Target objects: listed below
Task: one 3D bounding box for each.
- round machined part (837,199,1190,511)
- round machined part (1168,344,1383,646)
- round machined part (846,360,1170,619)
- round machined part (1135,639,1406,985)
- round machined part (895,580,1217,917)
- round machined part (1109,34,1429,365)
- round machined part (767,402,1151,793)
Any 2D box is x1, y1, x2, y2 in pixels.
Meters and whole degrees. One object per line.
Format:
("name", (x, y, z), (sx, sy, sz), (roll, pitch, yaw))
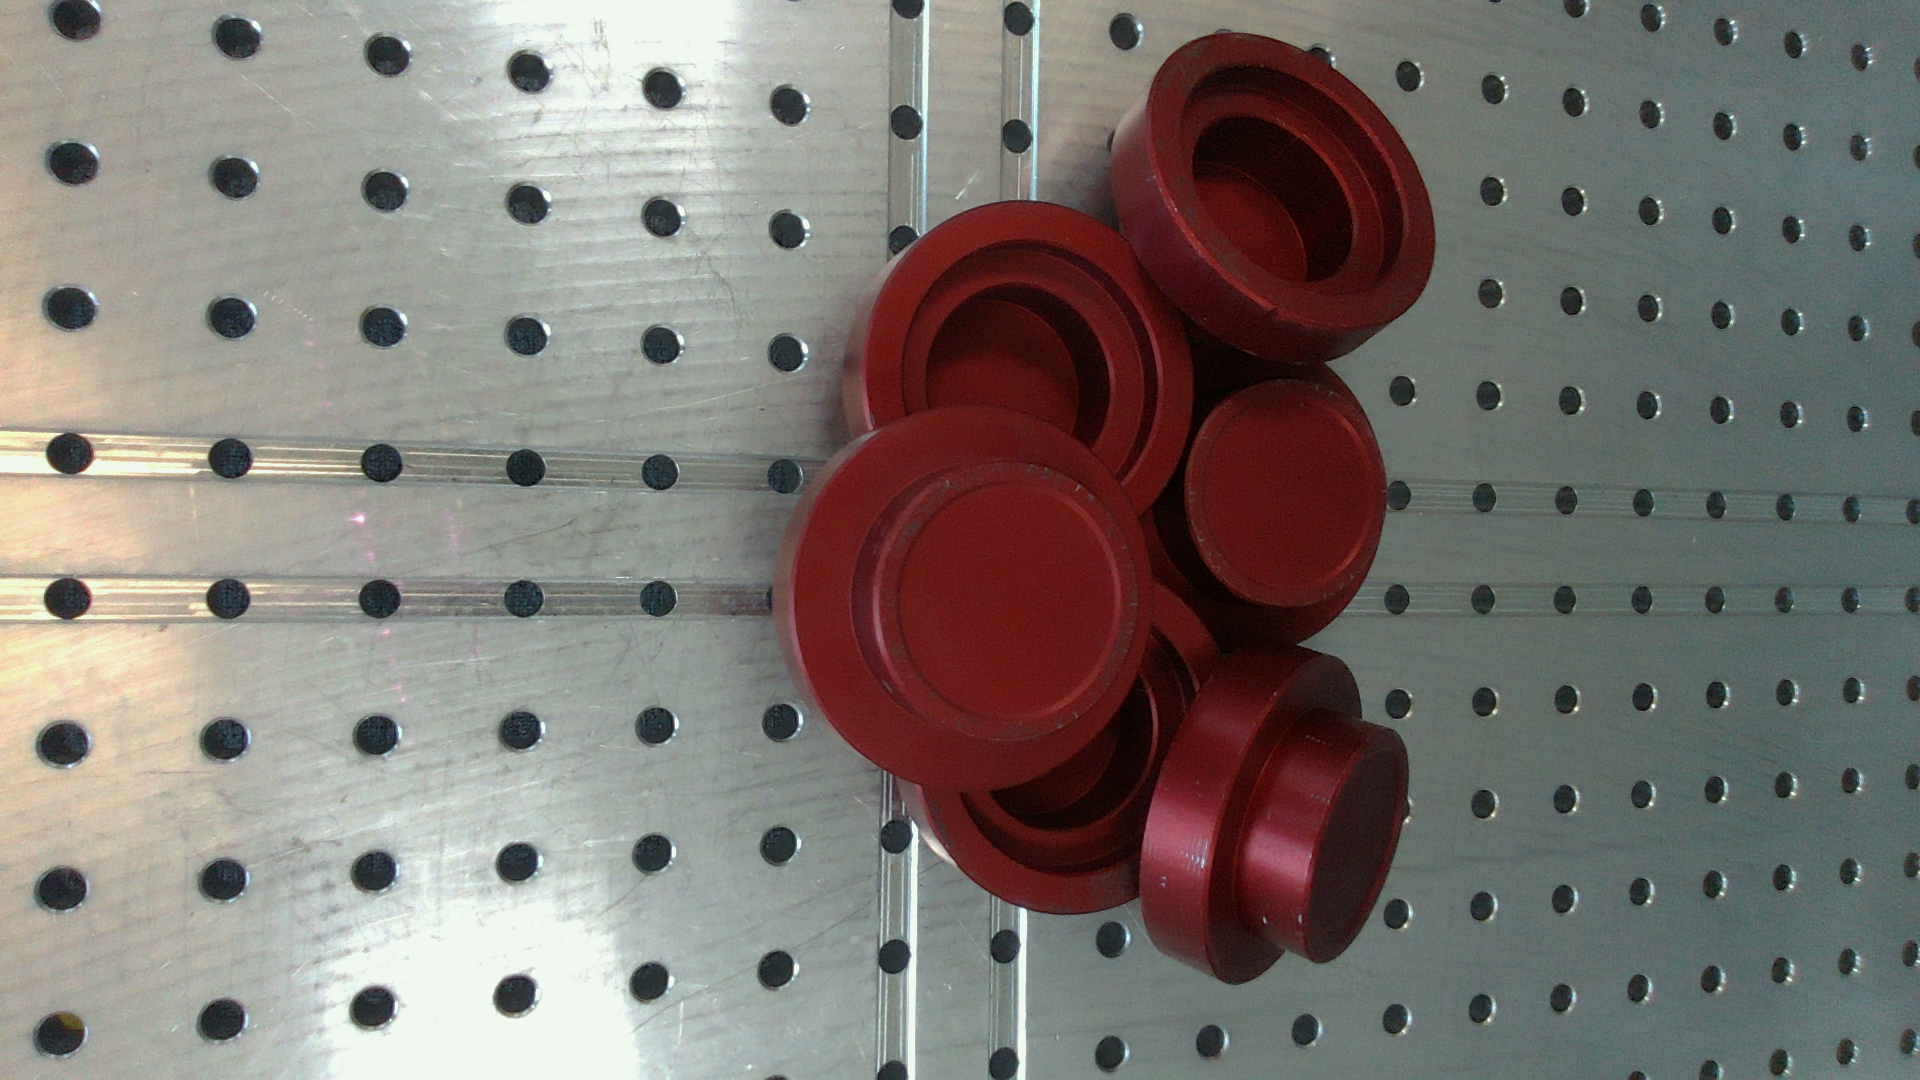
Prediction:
("round machined part", (0.012, -0.043, 0.391), (0.098, 0.042, 0.098), (0, 90, -20))
("round machined part", (0.088, -0.014, 0.419), (0.098, 0.042, 0.098), (0, 90, -20))
("round machined part", (0.006, 0.001, 0.389), (0.098, 0.042, 0.098), (0, 90, -20))
("round machined part", (0.094, 0.081, 0.395), (0.098, 0.042, 0.098), (-23, 121, -46))
("round machined part", (0.026, 0.054, 0.396), (0.098, 0.042, 0.098), (0, 90, -20))
("round machined part", (0.086, -0.095, 0.406), (0.098, 0.042, 0.098), (10, 65, -23))
("round machined part", (0.004, 0.014, 0.343), (0.098, 0.042, 0.098), (0, 90, -20))
